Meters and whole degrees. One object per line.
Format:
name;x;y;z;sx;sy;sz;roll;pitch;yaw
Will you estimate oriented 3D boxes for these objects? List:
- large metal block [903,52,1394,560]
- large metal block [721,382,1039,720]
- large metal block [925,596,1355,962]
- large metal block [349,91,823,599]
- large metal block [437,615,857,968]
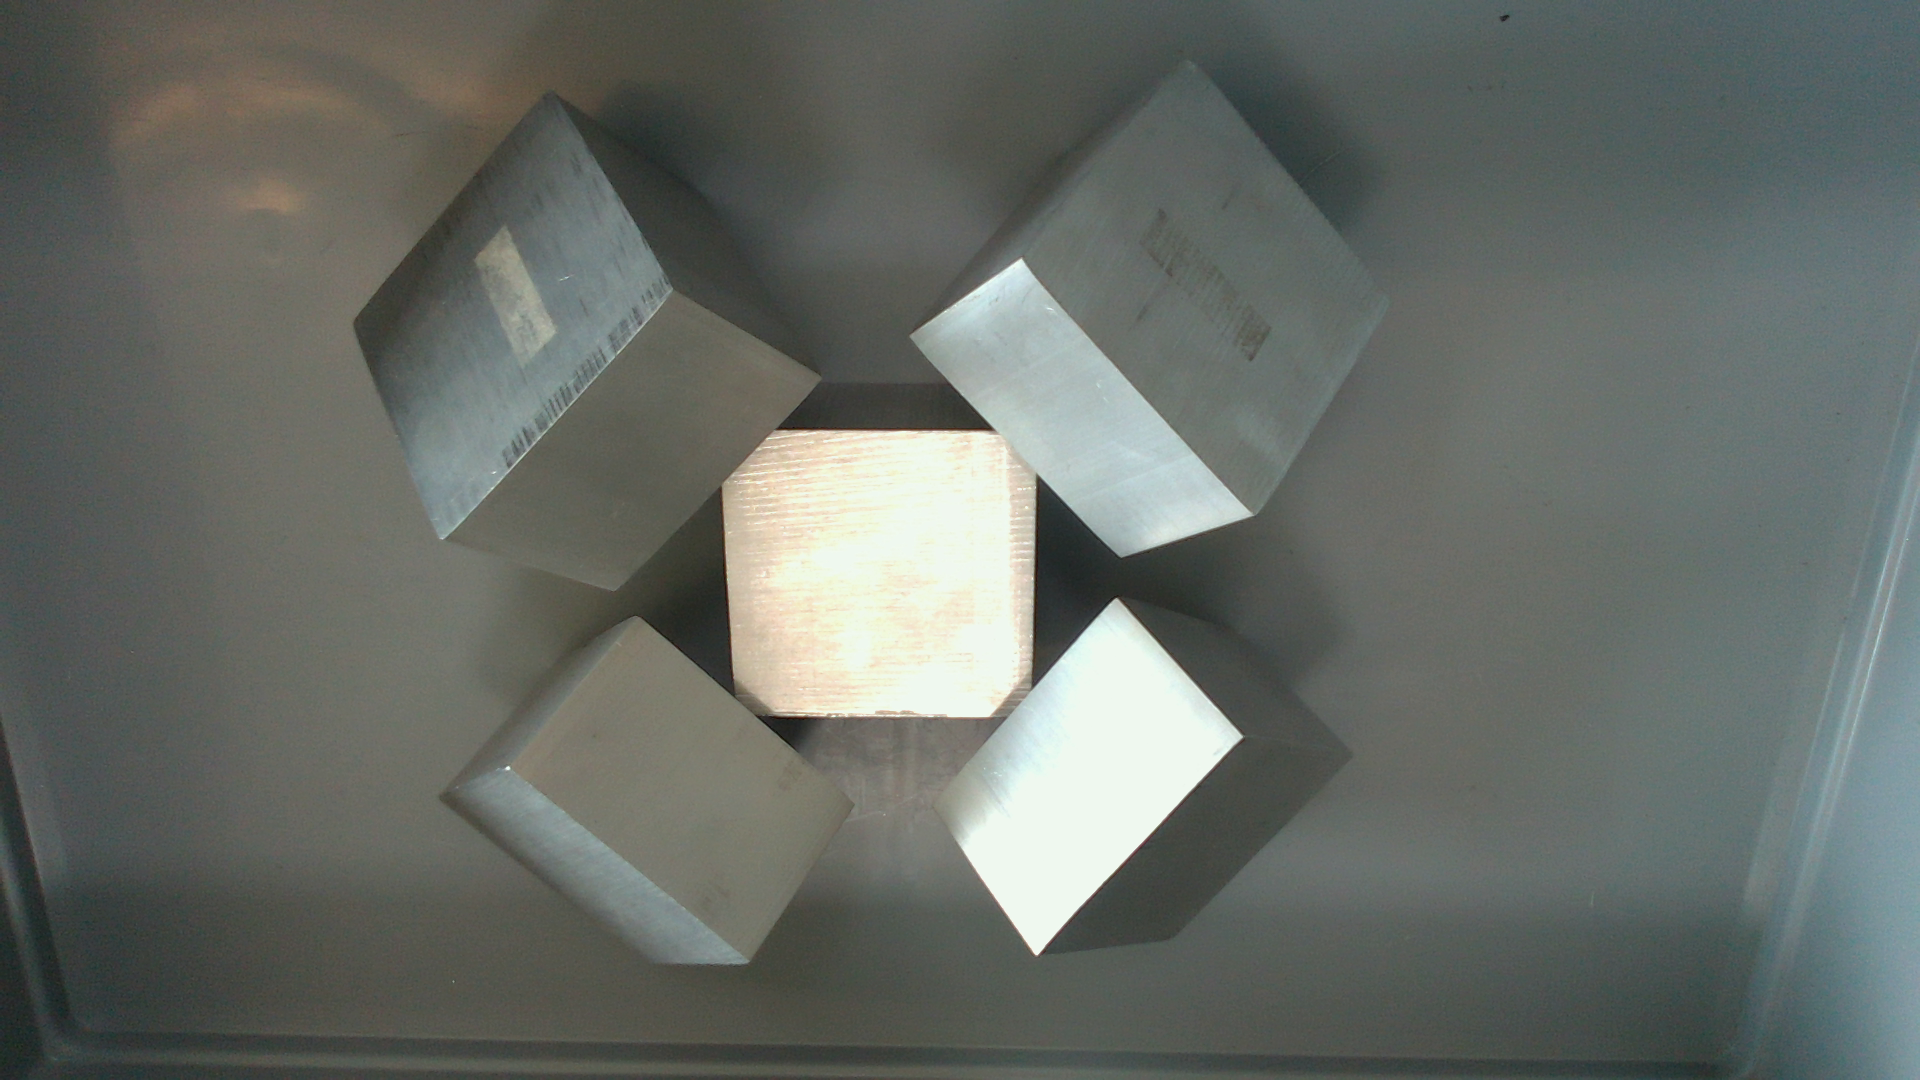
large metal block;0.048;-0.055;0.337;0.080;0.050;0.080;45;61;-14
large metal block;-0.020;0.002;0.379;0.080;0.050;0.080;1;110;0
large metal block;0.051;0.067;0.381;0.080;0.050;0.080;-50;148;15
large metal block;-0.093;-0.046;0.337;0.080;0.080;0.050;-44;148;14
large metal block;-0.089;0.073;0.384;0.080;0.050;0.080;44;149;-15
